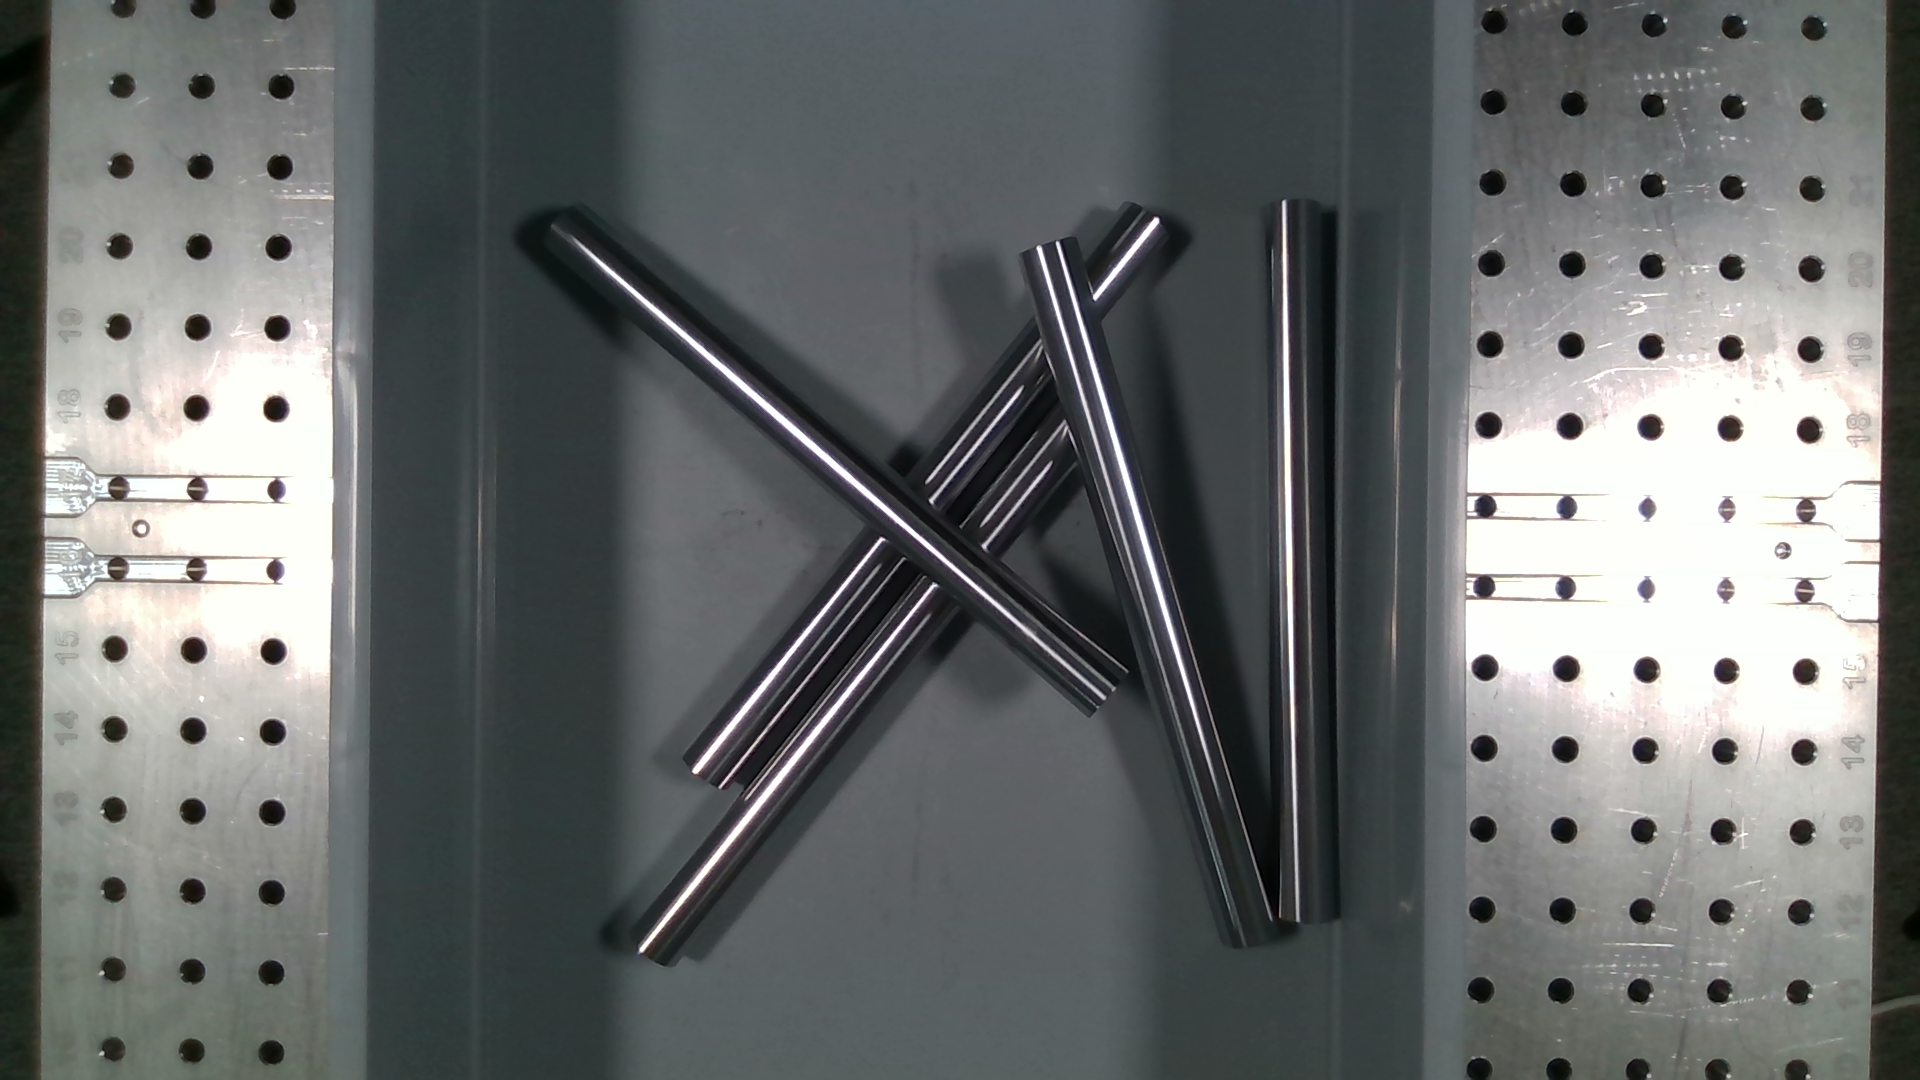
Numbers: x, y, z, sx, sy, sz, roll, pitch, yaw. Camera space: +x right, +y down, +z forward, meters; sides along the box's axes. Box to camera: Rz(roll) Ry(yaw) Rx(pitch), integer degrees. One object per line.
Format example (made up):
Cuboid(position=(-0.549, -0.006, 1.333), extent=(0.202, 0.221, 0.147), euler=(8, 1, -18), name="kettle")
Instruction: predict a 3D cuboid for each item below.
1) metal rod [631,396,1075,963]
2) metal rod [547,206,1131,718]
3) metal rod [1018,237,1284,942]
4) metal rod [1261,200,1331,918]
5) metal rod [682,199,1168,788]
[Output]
Cuboid(position=(-0.037, 0.055, 0.587), extent=(0.025, 0.025, 0.300), euler=(39, 90, 0), name="metal rod")
Cuboid(position=(-0.053, -0.035, 0.566), extent=(0.300, 0.025, 0.025), euler=(41, 90, 7), name="metal rod")
Cuboid(position=(0.081, 0.024, 0.571), extent=(0.025, 0.025, 0.300), euler=(-18, 97, 0), name="metal rod")
Cuboid(position=(0.143, 0.008, 0.587), extent=(0.025, 0.025, 0.300), euler=(-1, 91, 0), name="metal rod")
Cuboid(position=(-0.015, -0.019, 0.587), extent=(0.025, 0.025, 0.300), euler=(39, 90, 0), name="metal rod")
